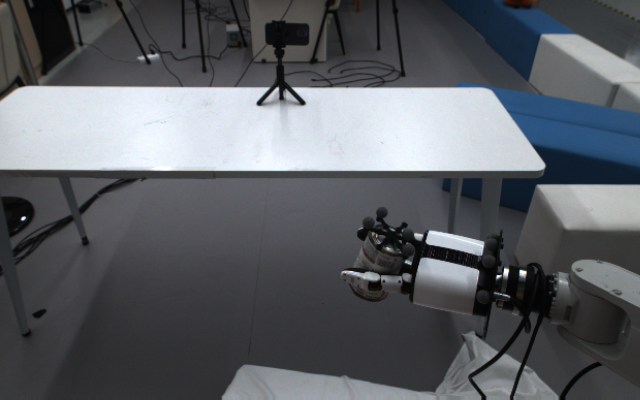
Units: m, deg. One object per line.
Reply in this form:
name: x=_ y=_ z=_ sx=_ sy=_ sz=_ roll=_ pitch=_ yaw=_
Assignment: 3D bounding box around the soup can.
soup can: x=0.090 y=0.095 z=0.732 sx=0.067 sy=0.101 sz=0.067 roll=13 pitch=35 yaw=-9
